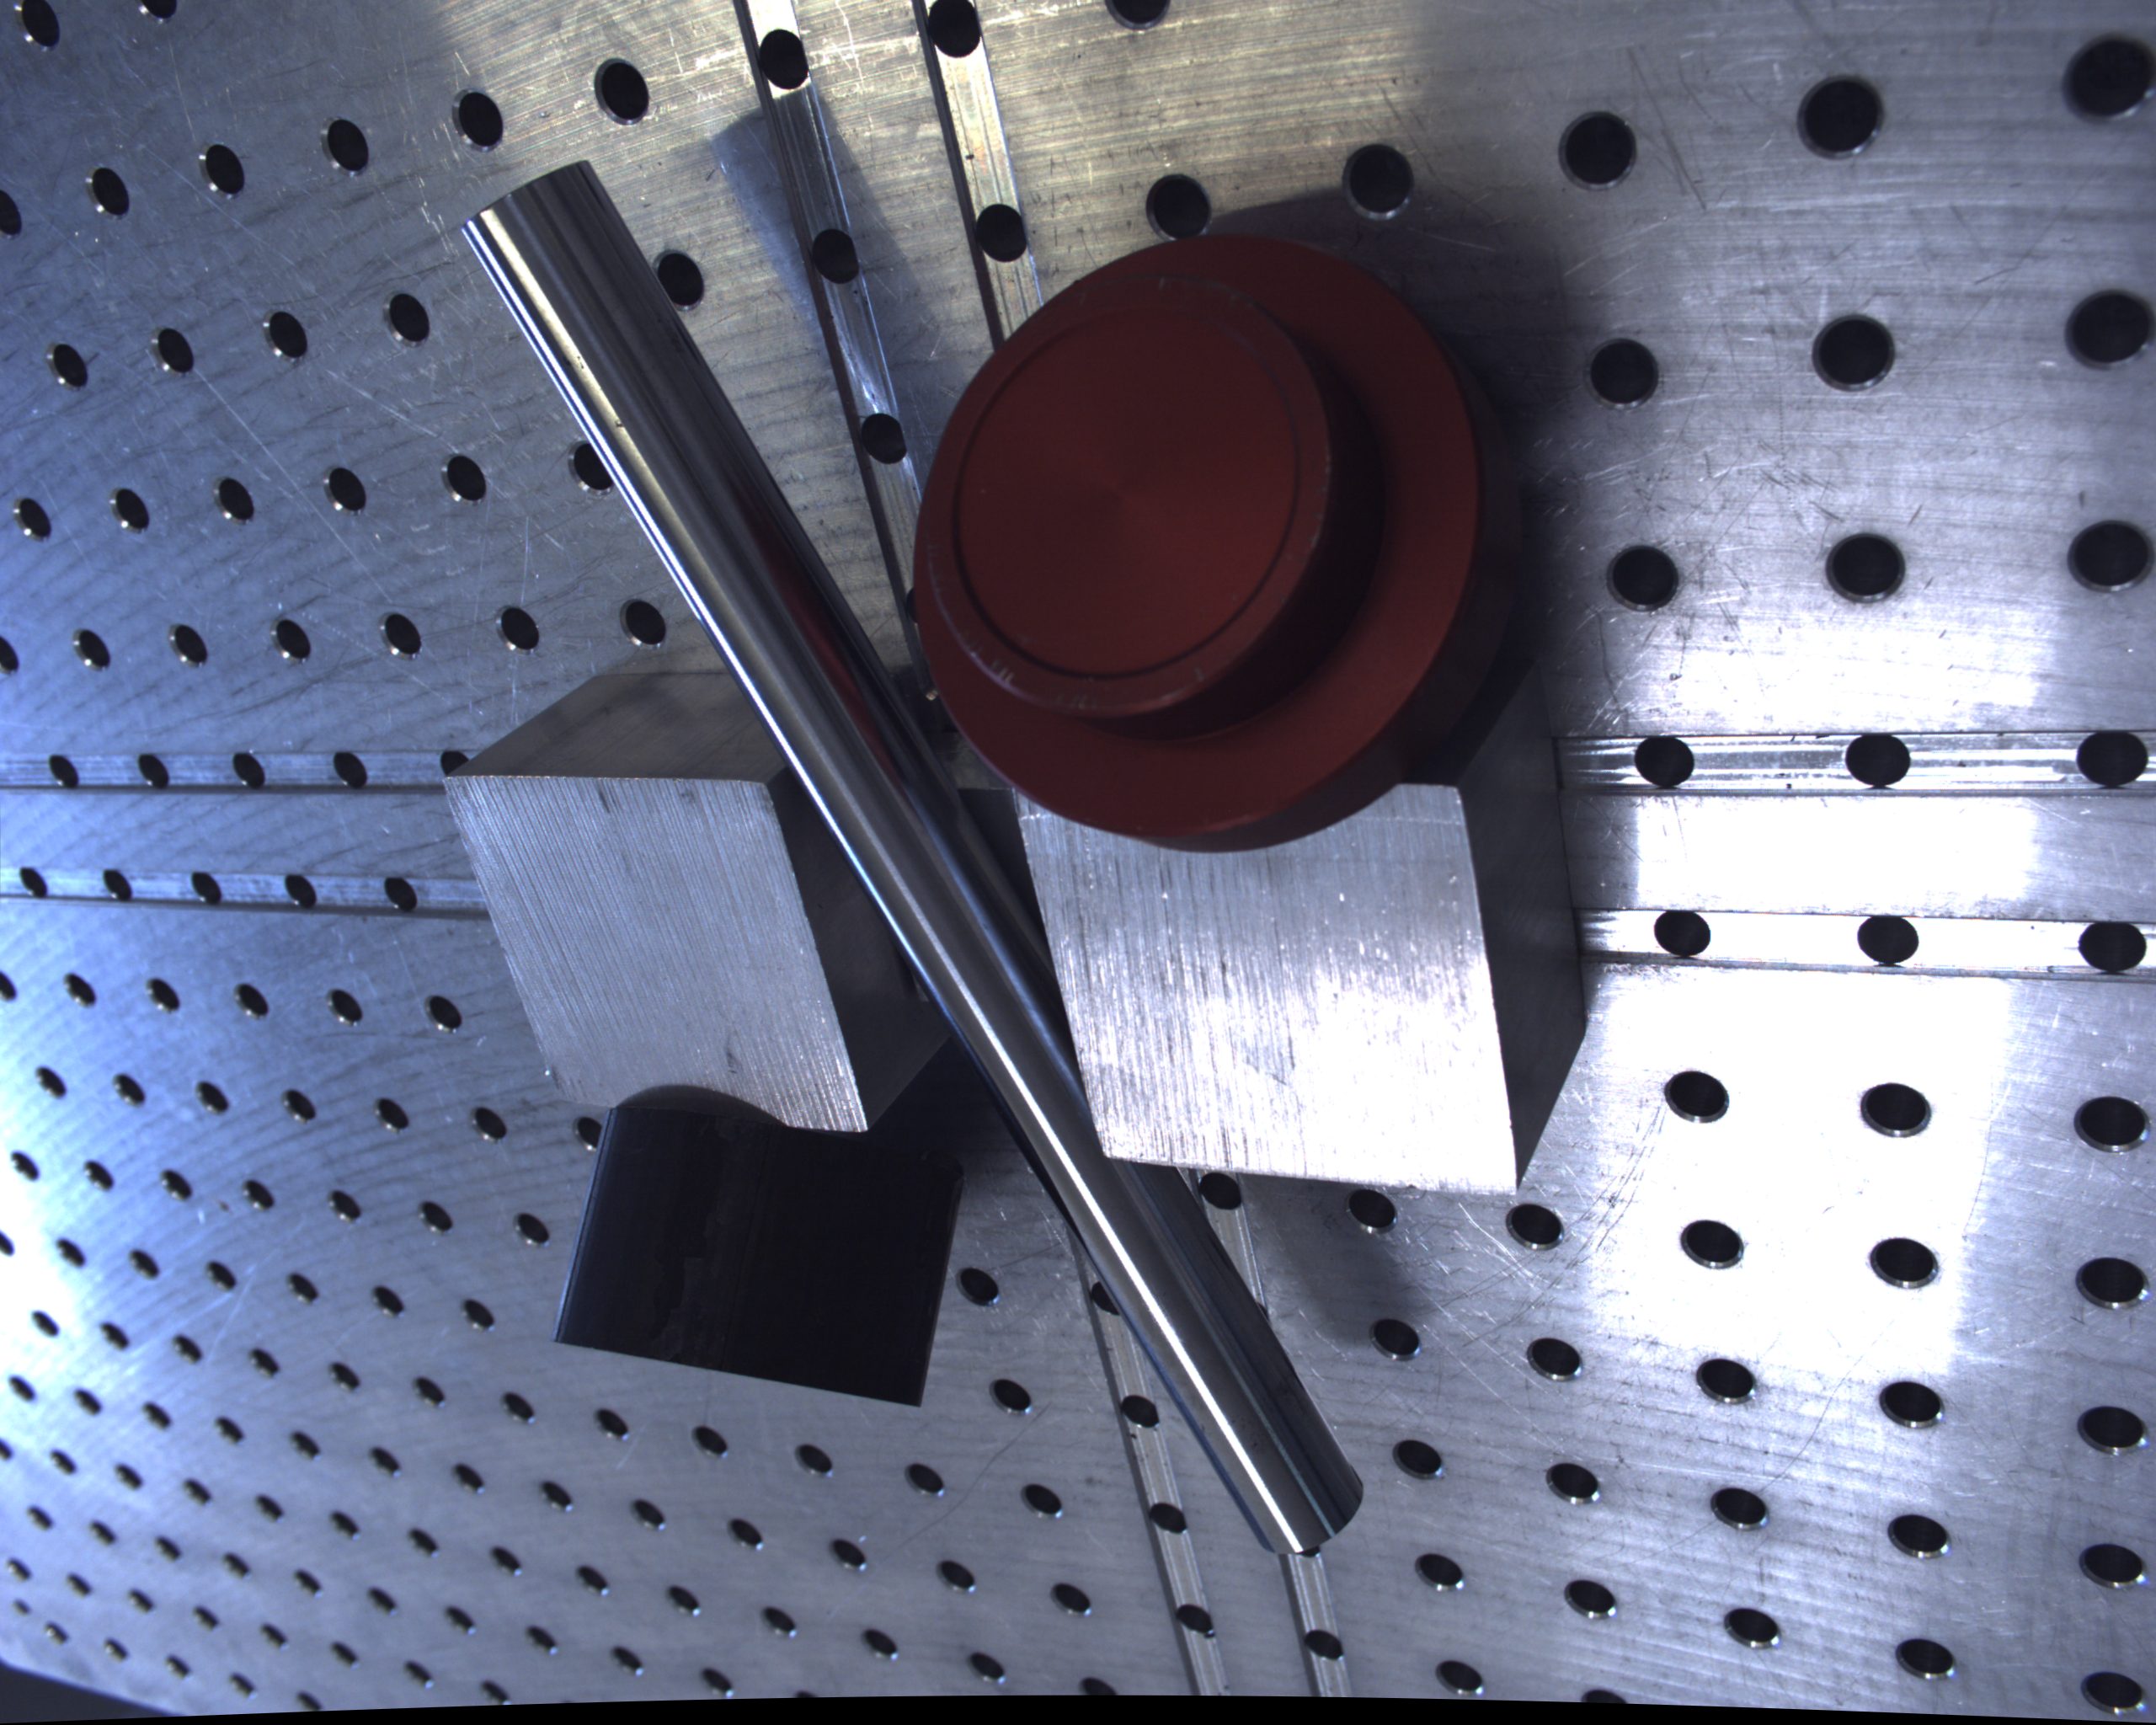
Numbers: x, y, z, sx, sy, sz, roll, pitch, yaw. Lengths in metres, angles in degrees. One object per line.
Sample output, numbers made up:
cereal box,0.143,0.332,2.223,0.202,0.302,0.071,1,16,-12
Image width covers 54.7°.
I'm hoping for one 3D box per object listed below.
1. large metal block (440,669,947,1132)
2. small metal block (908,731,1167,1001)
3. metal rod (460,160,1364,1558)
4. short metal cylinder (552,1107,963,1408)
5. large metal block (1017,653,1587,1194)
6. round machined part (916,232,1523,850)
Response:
large metal block,-0.074,0.006,0.439,0.080,0.050,0.080,2,120,27
small metal block,-0.010,0.001,0.418,0.050,0.025,0.050,1,119,28
metal rod,-0.023,0.011,0.397,0.025,0.025,0.299,-19,109,35
short metal cylinder,-0.070,0.087,0.458,0.080,0.050,0.080,9,164,3
large metal block,0.043,0.010,0.379,0.080,0.050,0.080,1,119,27
round machined part,0.016,-0.052,0.328,0.098,0.042,0.097,-4,82,27
